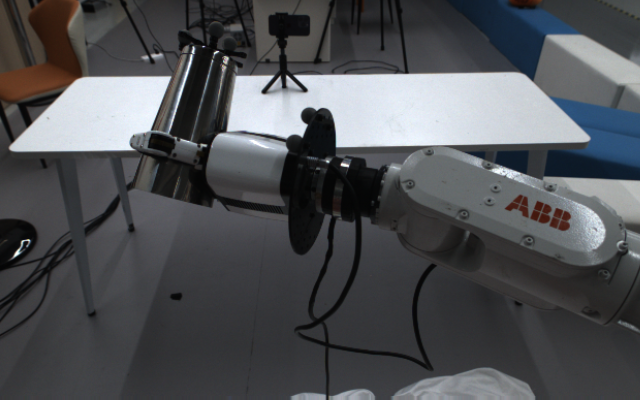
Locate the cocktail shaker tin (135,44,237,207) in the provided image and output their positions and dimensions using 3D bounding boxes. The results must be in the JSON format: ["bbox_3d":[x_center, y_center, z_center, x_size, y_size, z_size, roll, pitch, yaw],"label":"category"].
[{"bbox_3d":[-0.148,-0.083,0.558,0.093,0.170,0.093,14,-4,1],"label":"cocktail shaker tin"}]
